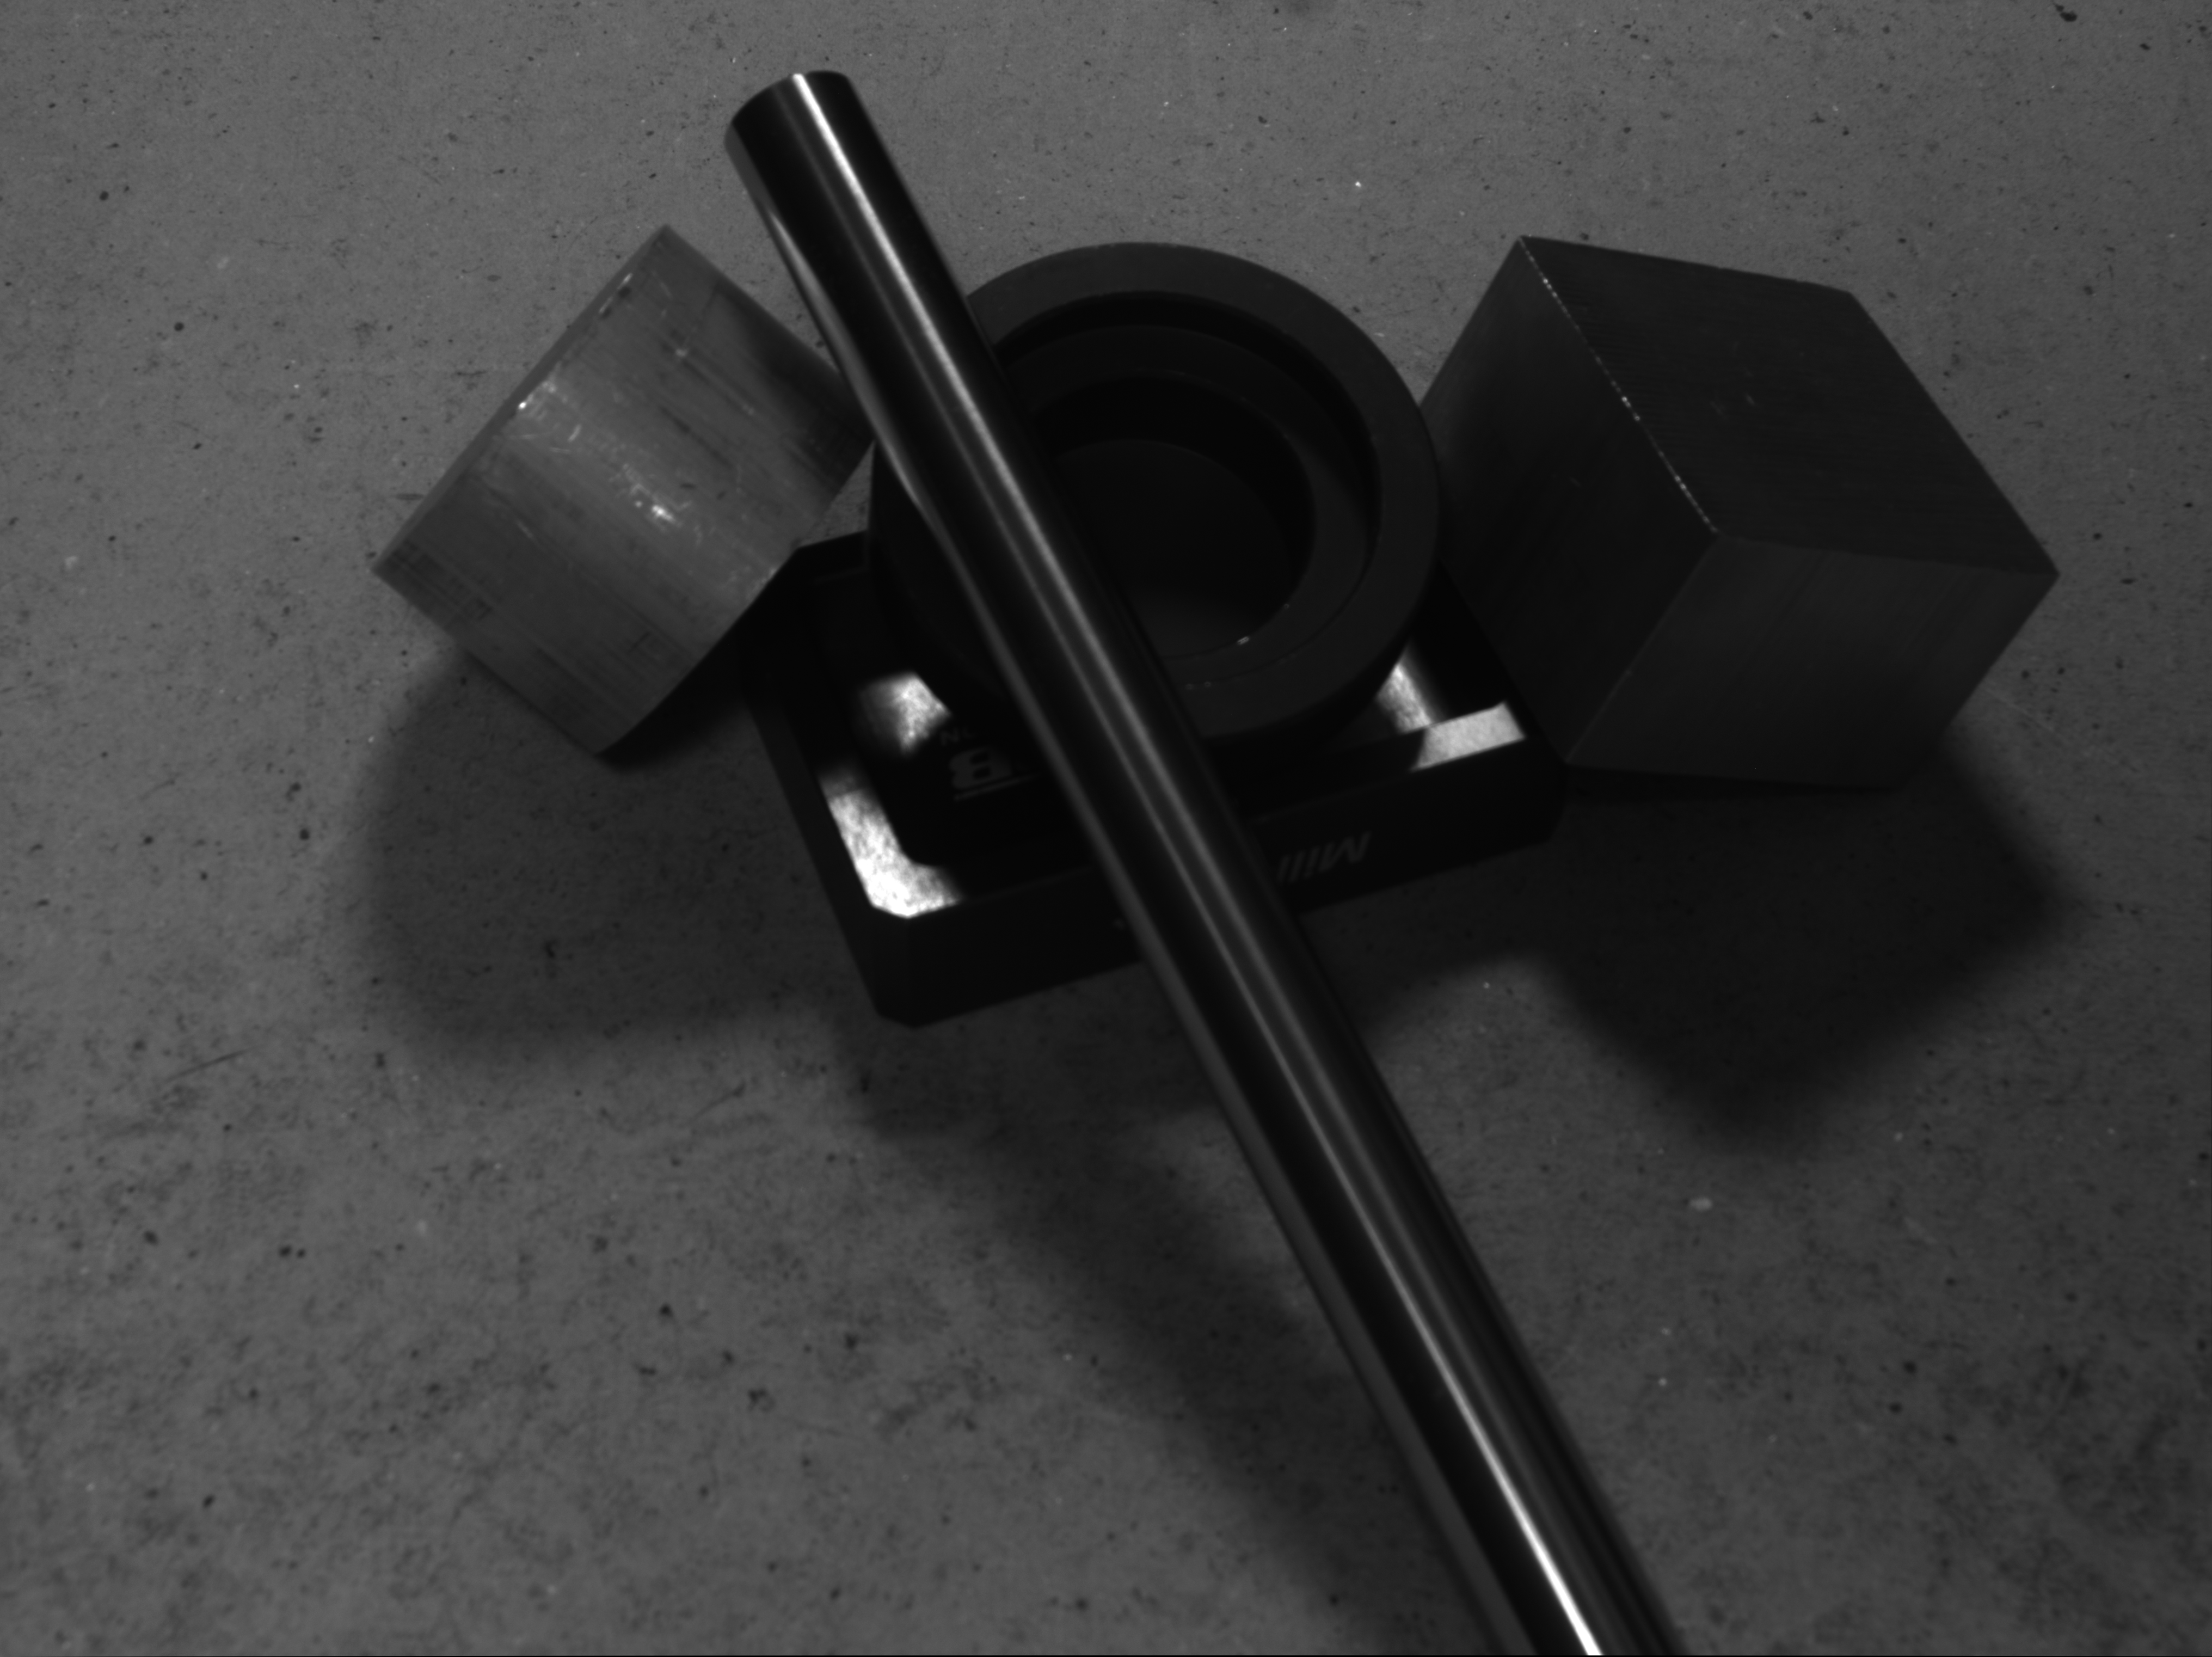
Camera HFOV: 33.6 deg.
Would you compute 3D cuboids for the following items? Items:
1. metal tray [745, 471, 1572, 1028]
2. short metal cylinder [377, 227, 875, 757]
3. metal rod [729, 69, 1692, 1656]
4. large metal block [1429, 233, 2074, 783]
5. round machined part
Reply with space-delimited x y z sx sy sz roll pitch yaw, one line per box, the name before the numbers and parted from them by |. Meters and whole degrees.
metal tray | 0.009 -0.023 0.658 0.130 0.030 0.090 -16 52 -13
short metal cylinder | -0.084 -0.060 0.648 0.050 0.080 0.080 40 53 -13
metal rod | 0.011 0.003 0.582 0.025 0.025 0.300 -21 70 -17
large metal block | 0.110 -0.056 0.651 0.080 0.050 0.080 3 44 -32
round machined part | 0.009 -0.051 0.643 0.098 0.042 0.098 2 65 -4
